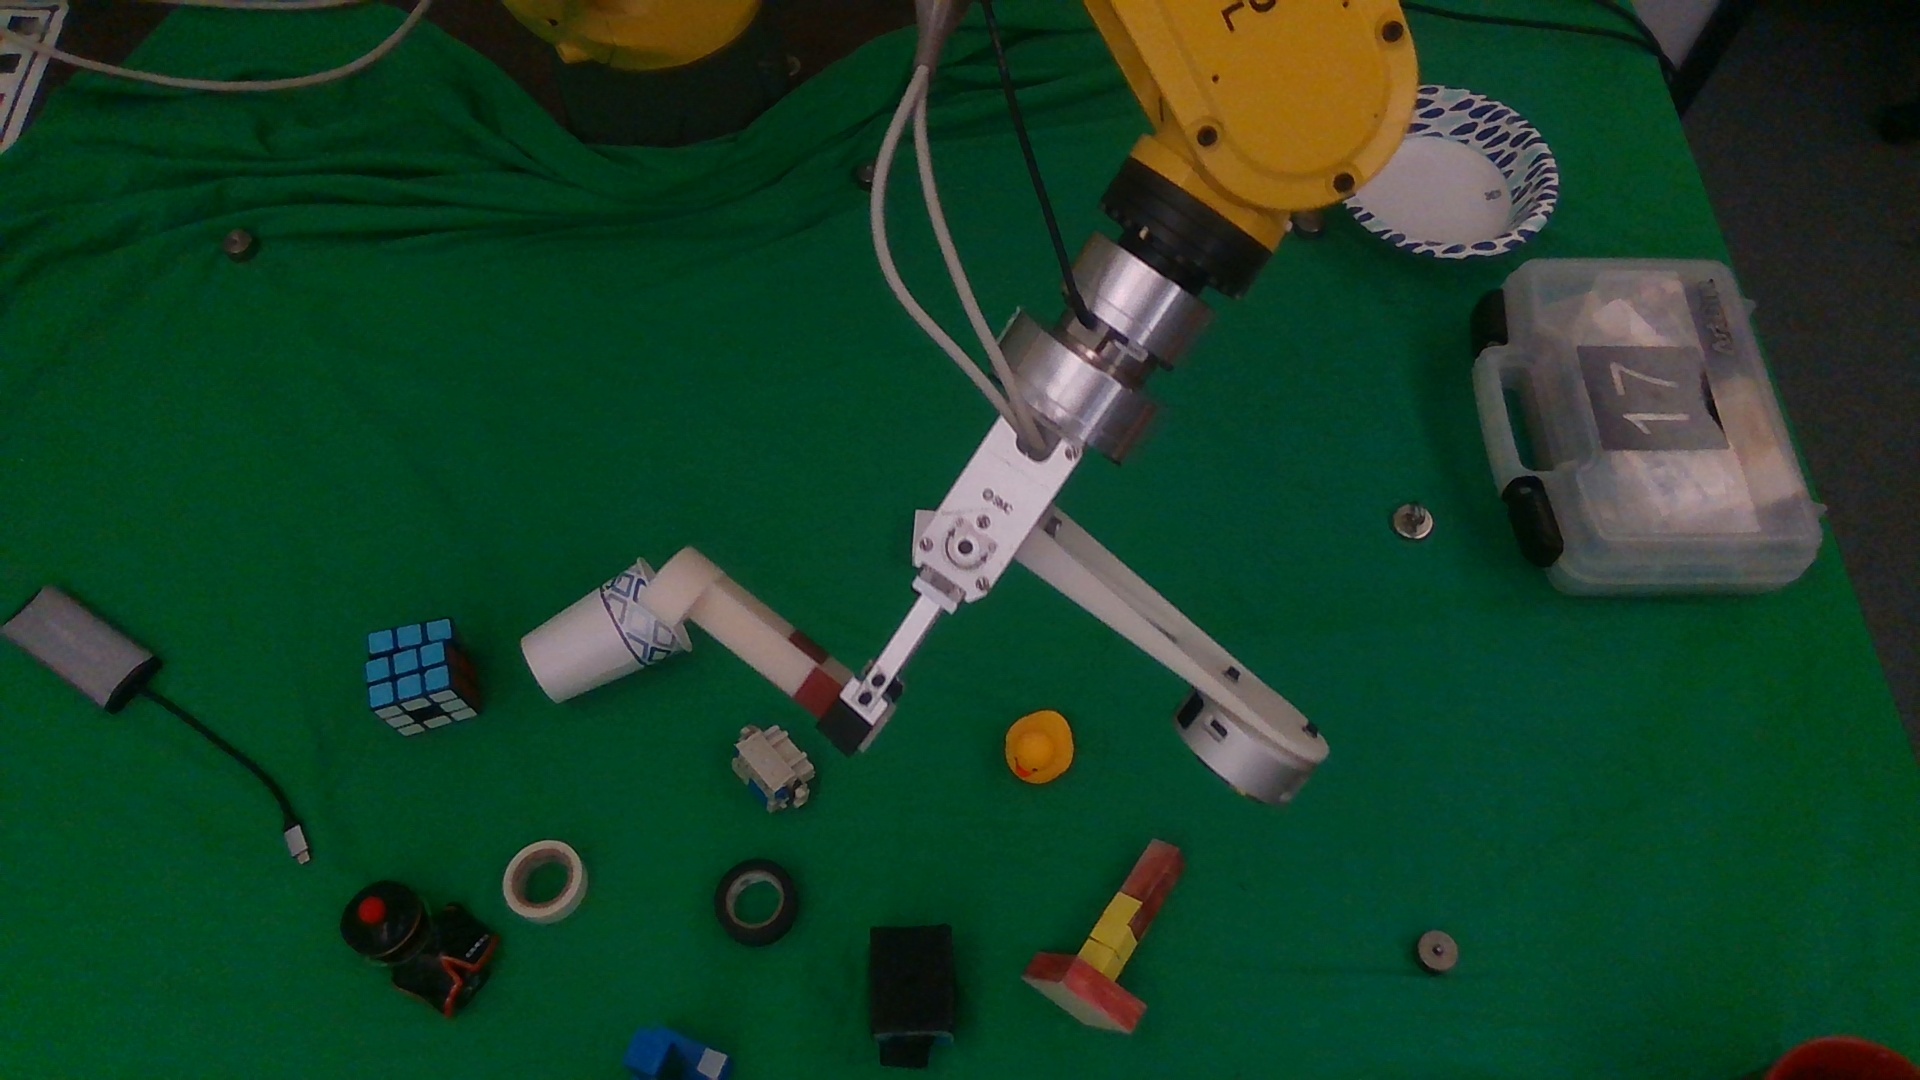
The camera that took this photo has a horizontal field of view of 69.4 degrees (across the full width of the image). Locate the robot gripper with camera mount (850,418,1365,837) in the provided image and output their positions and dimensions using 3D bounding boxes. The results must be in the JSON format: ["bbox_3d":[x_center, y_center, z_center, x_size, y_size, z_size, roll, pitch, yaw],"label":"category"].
[{"bbox_3d":[0.070,0.074,0.602,0.193,0.119,0.159,35,106,0],"label":"robot gripper with camera mount"}]

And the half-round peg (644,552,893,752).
[{"bbox_3d":[-0.080,0.053,0.623,0.122,0.054,0.031,37,107,3],"label":"half-round peg"}]
